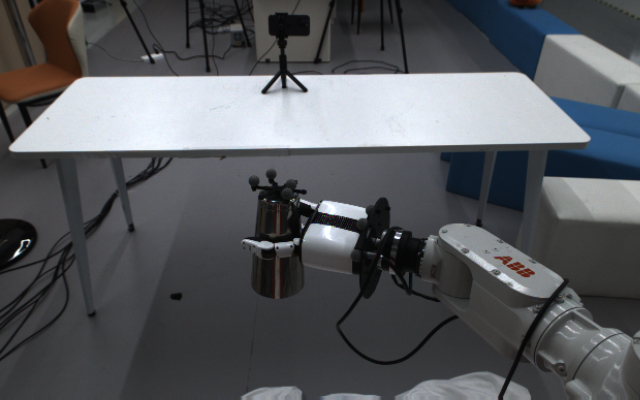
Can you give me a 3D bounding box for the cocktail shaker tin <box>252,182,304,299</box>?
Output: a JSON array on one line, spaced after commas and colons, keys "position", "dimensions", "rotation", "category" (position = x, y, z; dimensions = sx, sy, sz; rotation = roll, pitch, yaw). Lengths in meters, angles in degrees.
[{"position": [-0.069, 0.066, 0.802], "dimensions": [0.093, 0.170, 0.093], "rotation": [2, 26, -1], "category": "cocktail shaker tin"}]
